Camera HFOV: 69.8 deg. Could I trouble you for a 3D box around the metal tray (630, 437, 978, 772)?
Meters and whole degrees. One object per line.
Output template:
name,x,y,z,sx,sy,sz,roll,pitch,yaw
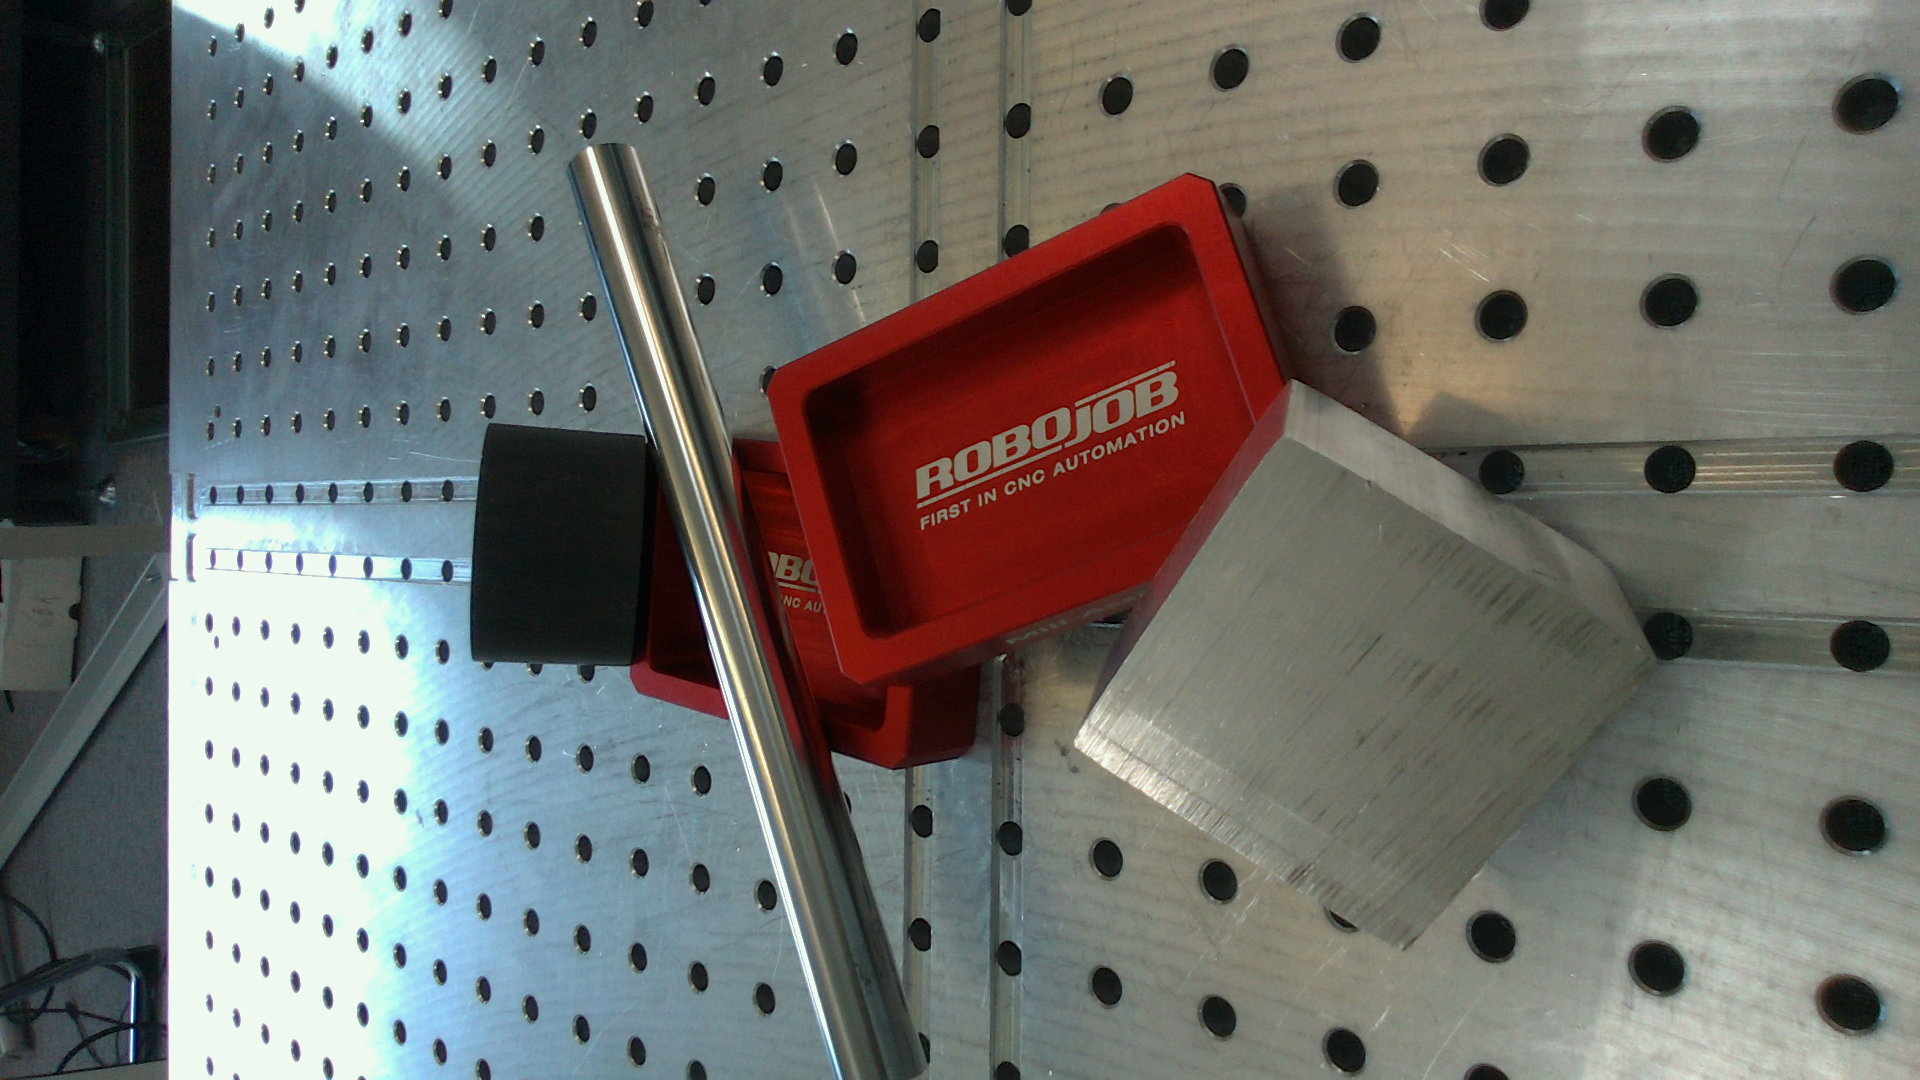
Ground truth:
metal tray,-0.051,0.014,0.437,0.129,0.030,0.090,9,96,40

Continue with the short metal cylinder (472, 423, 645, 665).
short metal cylinder,-0.137,0.002,0.473,0.080,0.050,0.080,-176,90,-75

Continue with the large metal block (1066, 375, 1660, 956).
large metal block,0.081,0.025,0.290,0.080,0.050,0.080,32,114,2

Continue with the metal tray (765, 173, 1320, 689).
metal tray,0.020,-0.024,0.353,0.130,0.030,0.090,-22,76,21

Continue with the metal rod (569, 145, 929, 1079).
metal rod,-0.069,0.012,0.416,0.025,0.025,0.300,-31,70,36
